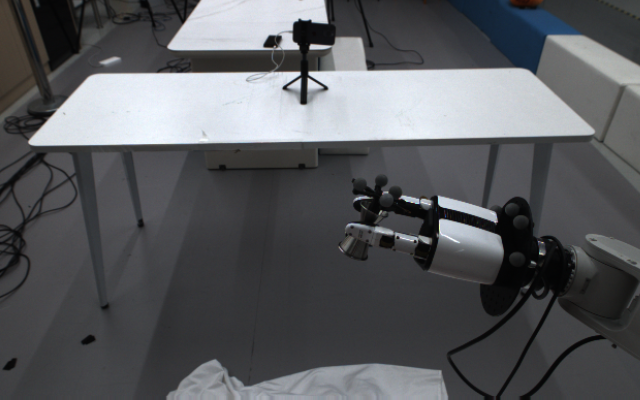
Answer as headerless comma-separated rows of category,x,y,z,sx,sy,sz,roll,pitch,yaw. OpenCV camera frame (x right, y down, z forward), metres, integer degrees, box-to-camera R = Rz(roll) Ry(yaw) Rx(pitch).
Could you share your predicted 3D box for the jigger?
jigger,0.056,0.039,0.635,0.043,0.071,0.043,23,19,-8
